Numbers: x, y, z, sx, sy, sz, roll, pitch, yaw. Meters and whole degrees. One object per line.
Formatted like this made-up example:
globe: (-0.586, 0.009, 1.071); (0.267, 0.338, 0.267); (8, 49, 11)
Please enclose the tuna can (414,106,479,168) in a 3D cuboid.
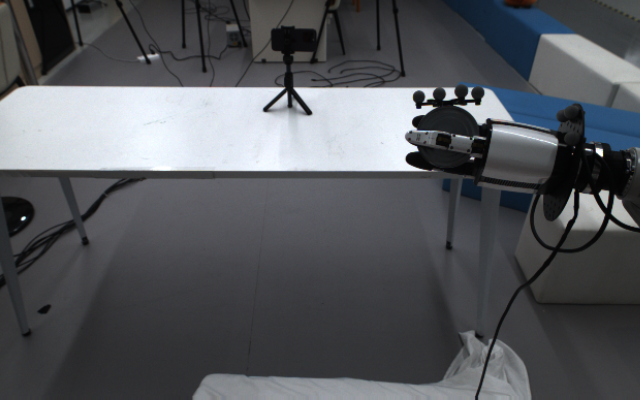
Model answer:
tuna can: (0.180, -0.090, 0.683); (0.085, 0.085, 0.034); (15, 10, 18)
